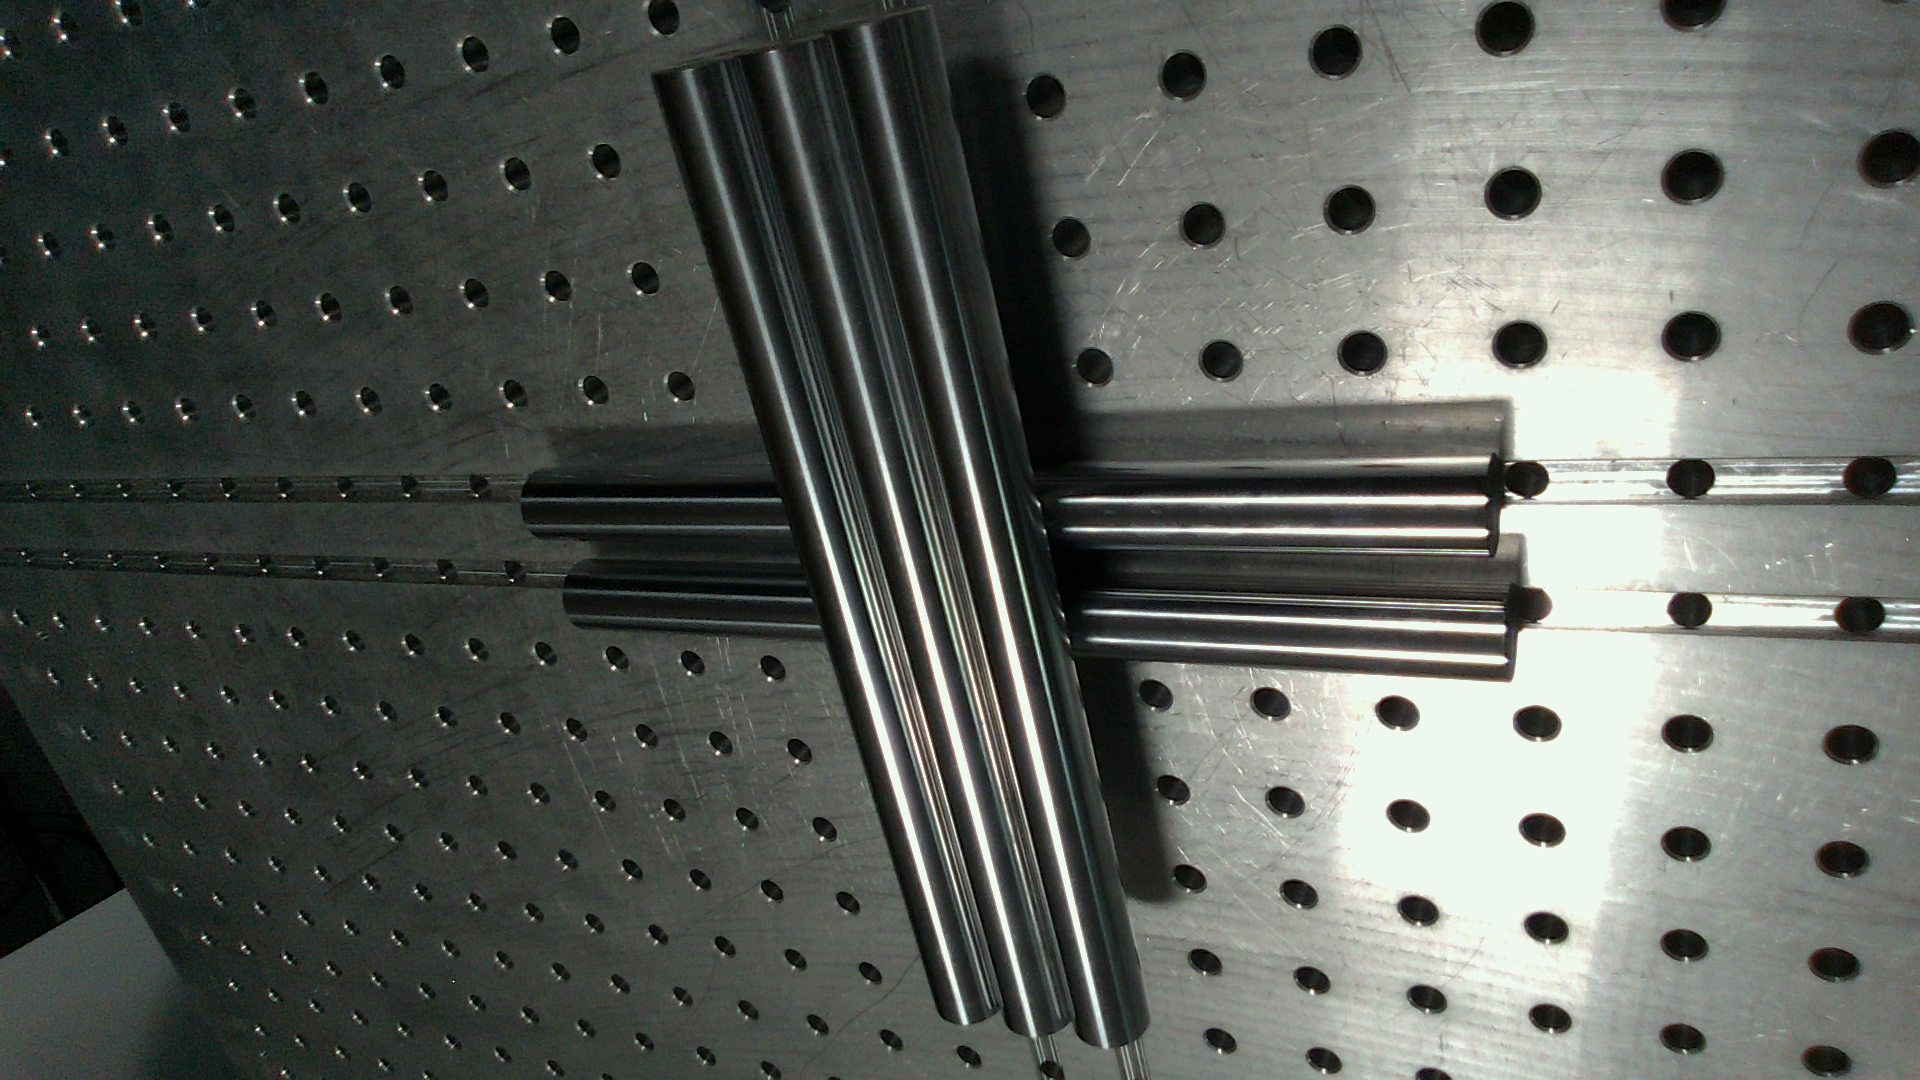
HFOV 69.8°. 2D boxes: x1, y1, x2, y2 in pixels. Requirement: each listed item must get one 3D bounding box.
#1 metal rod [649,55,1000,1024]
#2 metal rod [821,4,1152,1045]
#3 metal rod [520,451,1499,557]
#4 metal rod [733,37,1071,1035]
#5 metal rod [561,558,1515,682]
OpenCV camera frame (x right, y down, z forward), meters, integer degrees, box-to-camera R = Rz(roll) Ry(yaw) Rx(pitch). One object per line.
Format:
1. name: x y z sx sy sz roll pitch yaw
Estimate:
1. metal rod: -0.029 0.019 0.391 0.025 0.025 0.300 0 119 28
2. metal rod: 0.015 0.017 0.366 0.025 0.025 0.300 0 119 28
3. metal rod: -0.007 -0.010 0.394 0.299 0.025 0.025 1 119 28
4. metal rod: -0.007 0.018 0.379 0.025 0.025 0.300 0 119 28
5. metal rod: 0.003 0.020 0.407 0.299 0.025 0.025 1 119 28
